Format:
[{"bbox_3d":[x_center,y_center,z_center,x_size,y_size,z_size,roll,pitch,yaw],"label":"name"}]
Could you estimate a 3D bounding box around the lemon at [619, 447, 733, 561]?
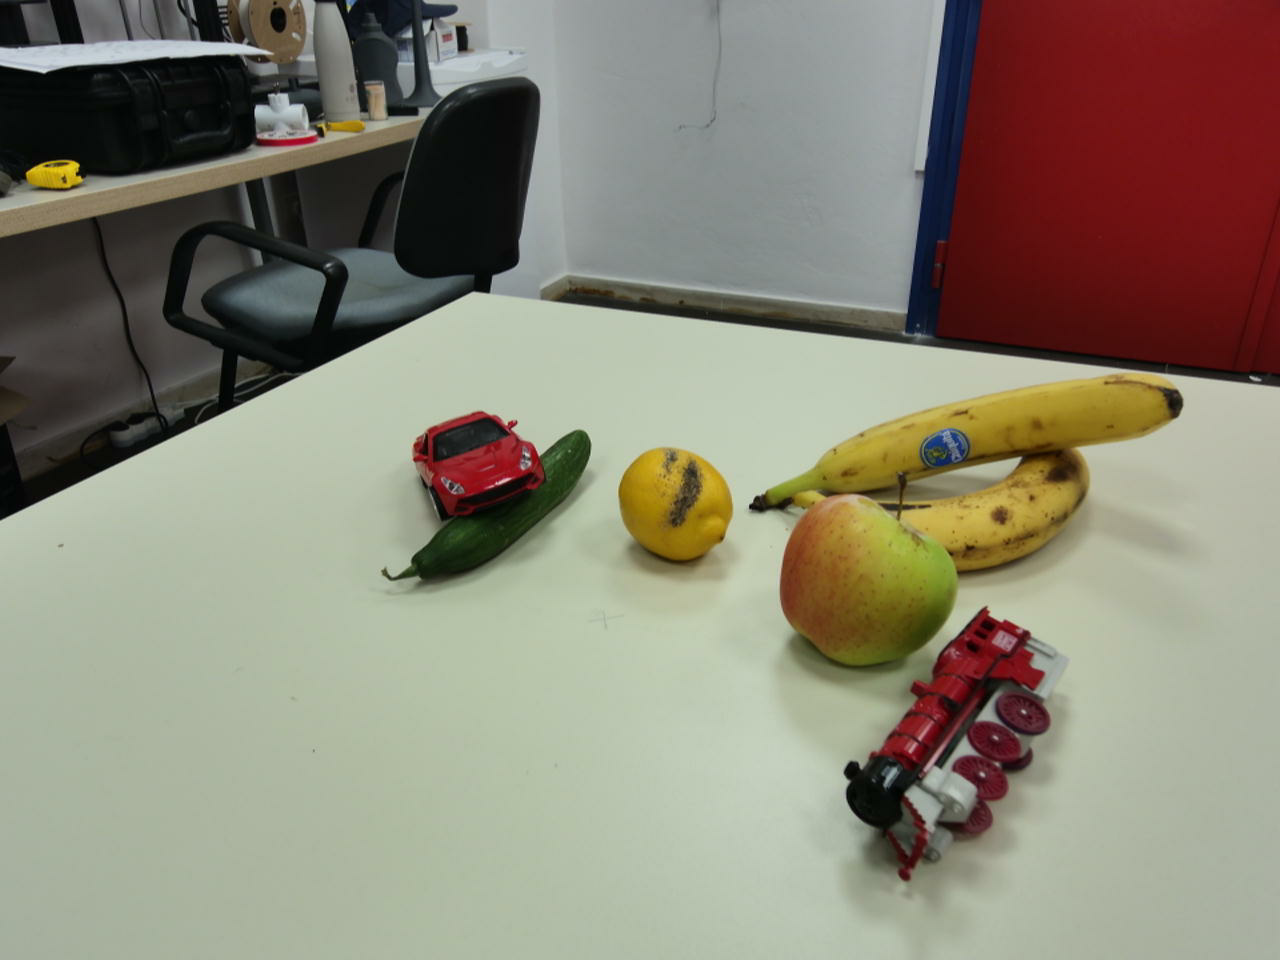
[{"bbox_3d":[0.019,0.013,0.524,0.061,0.056,0.058,8,26,15],"label":"lemon"}]
